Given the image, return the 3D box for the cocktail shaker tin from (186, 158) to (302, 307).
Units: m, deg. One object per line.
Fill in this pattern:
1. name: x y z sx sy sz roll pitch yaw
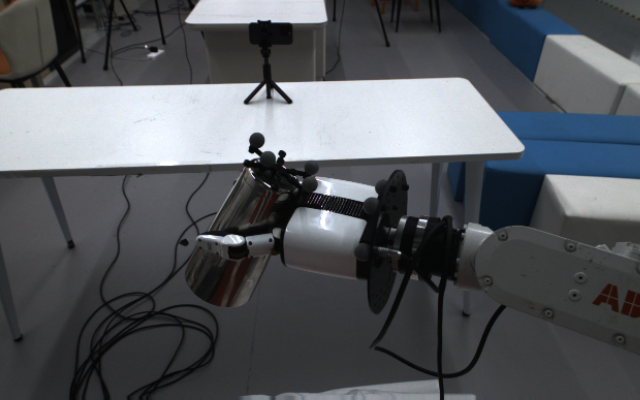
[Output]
1. cocktail shaker tin: -0.088 0.034 0.582 0.093 0.170 0.093 25 29 -15
